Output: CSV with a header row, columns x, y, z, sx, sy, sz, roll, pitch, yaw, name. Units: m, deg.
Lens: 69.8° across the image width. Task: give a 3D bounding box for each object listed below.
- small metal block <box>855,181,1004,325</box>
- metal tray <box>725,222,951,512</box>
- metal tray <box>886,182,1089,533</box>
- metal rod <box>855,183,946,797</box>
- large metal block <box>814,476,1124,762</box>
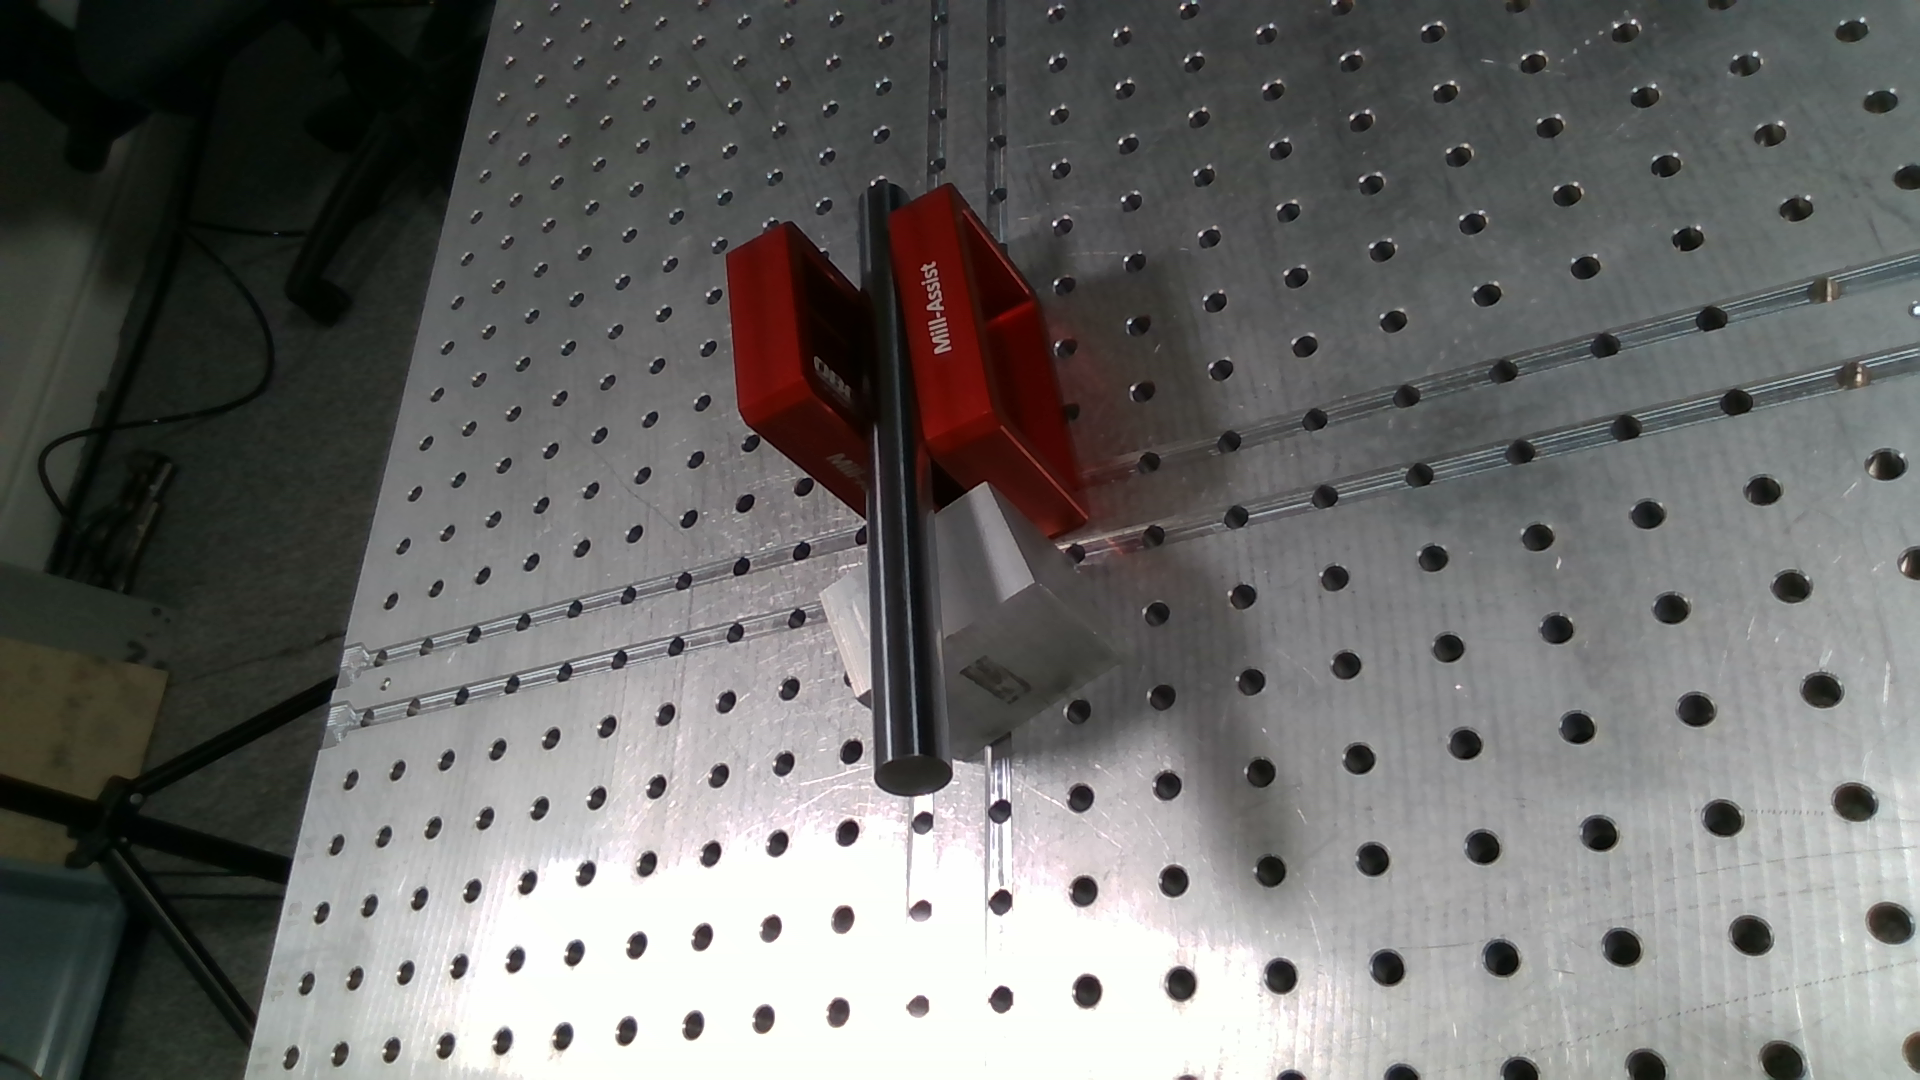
x,y,z,sx,sy,sz,roll,pitch,yaw,name
-0.014,-0.135,0.652,0.050,0.050,0.025,-22,56,20,small metal block
-0.045,-0.060,0.581,0.030,0.130,0.090,-23,56,20,metal tray
0.011,-0.074,0.578,0.030,0.090,0.130,-23,55,21,metal tray
-0.026,-0.039,0.528,0.025,0.025,0.299,-23,46,20,metal rod
0.004,0.033,0.531,0.080,0.080,0.050,-34,52,12,large metal block
